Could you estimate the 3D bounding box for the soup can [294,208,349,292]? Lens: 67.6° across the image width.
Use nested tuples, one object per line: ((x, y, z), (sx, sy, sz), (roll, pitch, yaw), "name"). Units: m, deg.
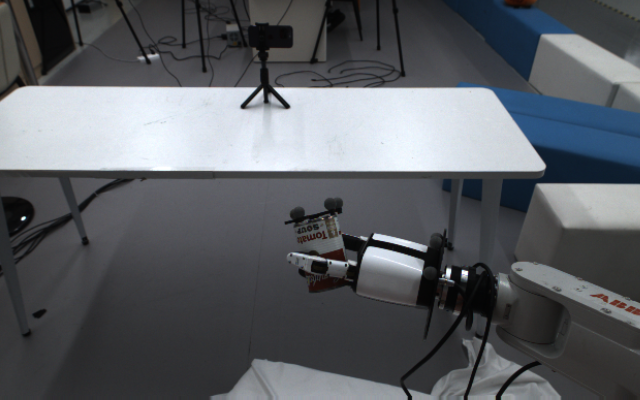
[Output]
((0.006, 0.078, 0.707), (0.067, 0.101, 0.067), (-14, -2, -1), "soup can")
